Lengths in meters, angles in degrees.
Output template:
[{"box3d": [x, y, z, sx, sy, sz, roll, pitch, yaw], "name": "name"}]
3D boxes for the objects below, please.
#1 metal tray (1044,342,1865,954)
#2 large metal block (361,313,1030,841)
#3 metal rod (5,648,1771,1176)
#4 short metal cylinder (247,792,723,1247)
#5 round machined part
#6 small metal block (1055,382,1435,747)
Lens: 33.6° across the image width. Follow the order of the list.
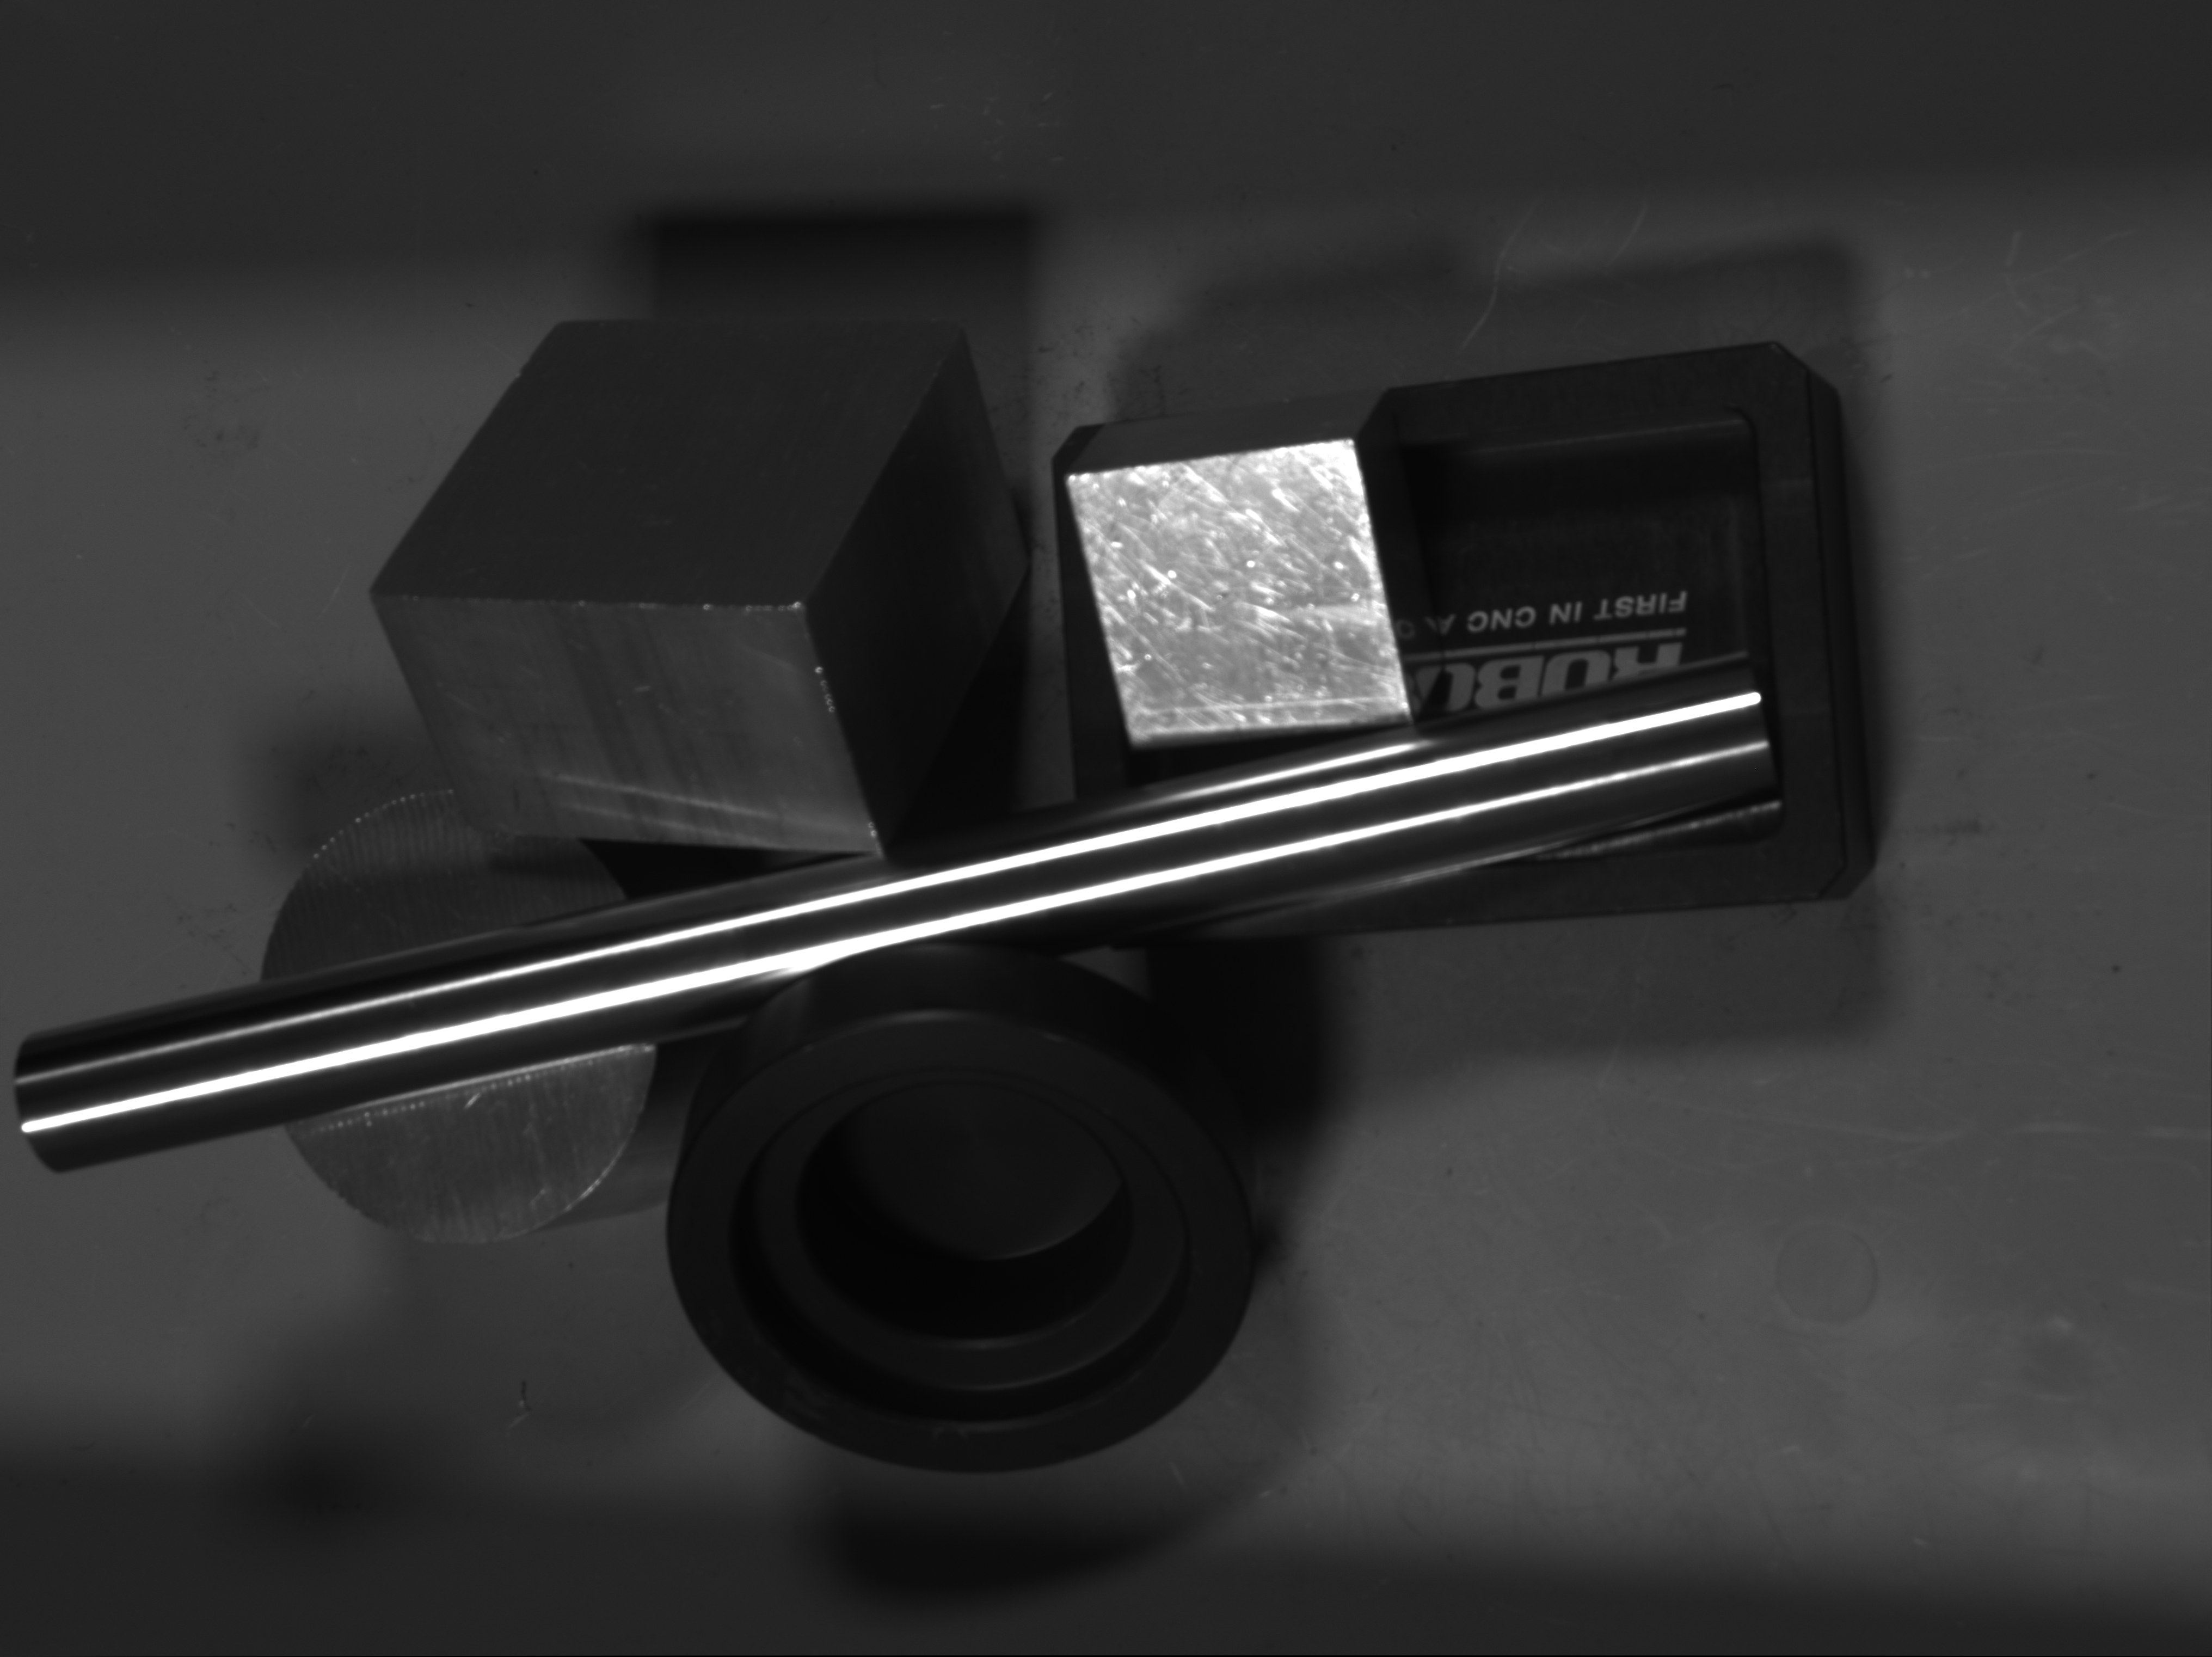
[{"box3d": [0.058, -0.028, 0.619, 0.130, 0.030, 0.090, -5, 88, 20], "name": "metal tray"}, {"box3d": [-0.068, -0.045, 0.630, 0.080, 0.080, 0.050, 3, 133, 21], "name": "large metal block"}, {"box3d": [-0.040, 0.016, 0.613, 0.300, 0.025, 0.025, -13, 86, 8], "name": "metal rod"}, {"box3d": [-0.109, 0.034, 0.668, 0.080, 0.050, 0.080, 0, 90, 20], "name": "short metal cylinder"}, {"box3d": [-0.025, 0.060, 0.626, 0.098, 0.042, 0.098, 1, 122, 2], "name": "round machined part"}, {"box3d": [0.024, -0.044, 0.612, 0.050, 0.025, 0.050, -5, 114, 20], "name": "small metal block"}]
